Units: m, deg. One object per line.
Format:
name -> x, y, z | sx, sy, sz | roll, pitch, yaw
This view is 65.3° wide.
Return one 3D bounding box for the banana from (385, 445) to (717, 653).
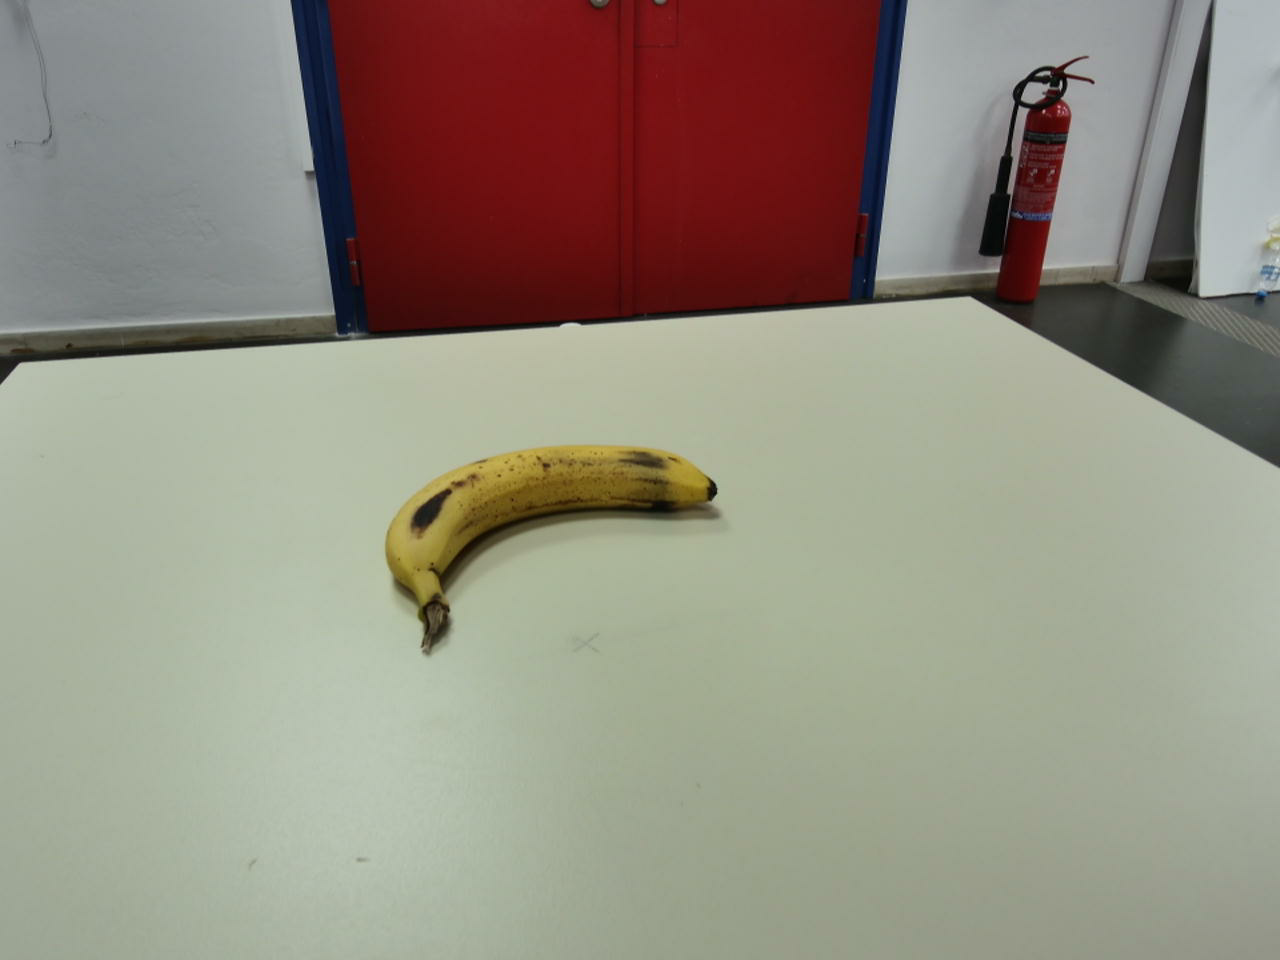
banana -> -0.055, 0.016, 0.531 | 0.186, 0.038, 0.097 | -20, 32, -36
